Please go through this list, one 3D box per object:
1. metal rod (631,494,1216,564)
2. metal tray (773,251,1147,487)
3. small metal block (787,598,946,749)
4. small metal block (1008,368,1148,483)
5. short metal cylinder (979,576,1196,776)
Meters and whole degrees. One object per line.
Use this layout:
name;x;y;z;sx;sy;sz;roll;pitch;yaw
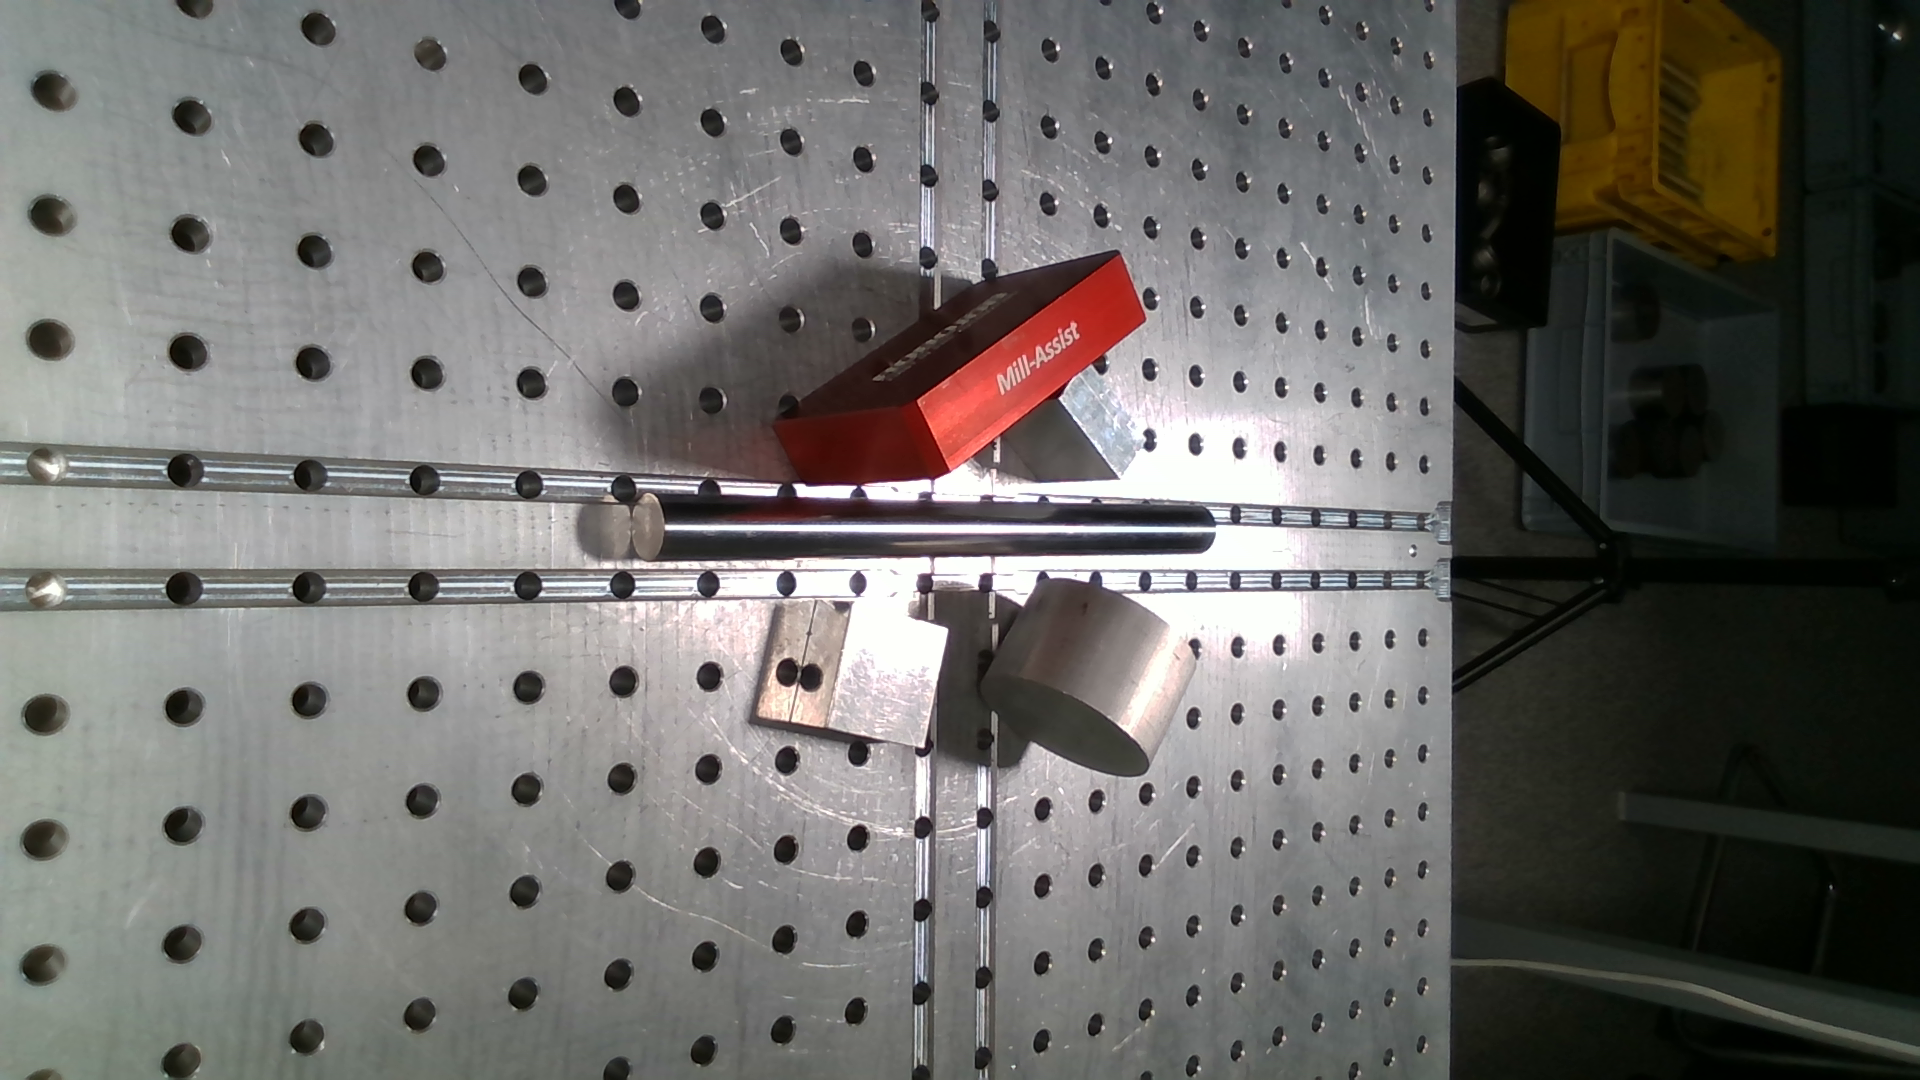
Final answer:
metal rod;0.003;-0.005;0.588;0.300;0.025;0.025;0;90;-40
metal tray;0.001;-0.068;0.543;0.130;0.090;0.030;-40;114;-33
small metal block;-0.037;0.054;0.556;0.050;0.025;0.050;19;78;-39
small metal block;0.046;-0.052;0.608;0.050;0.050;0.025;49;61;-29
short metal cylinder;0.055;0.060;0.597;0.080;0.080;0.050;45;63;-31
